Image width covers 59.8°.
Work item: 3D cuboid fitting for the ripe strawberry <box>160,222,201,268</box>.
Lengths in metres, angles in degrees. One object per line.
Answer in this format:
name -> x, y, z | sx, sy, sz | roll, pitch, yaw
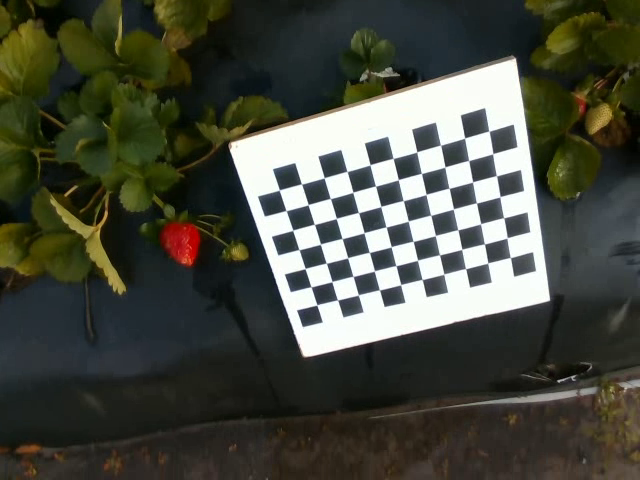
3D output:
ripe strawberry -> -0.150, 0.009, 0.615 | 0.043, 0.057, 0.052 | -38, -43, 20
